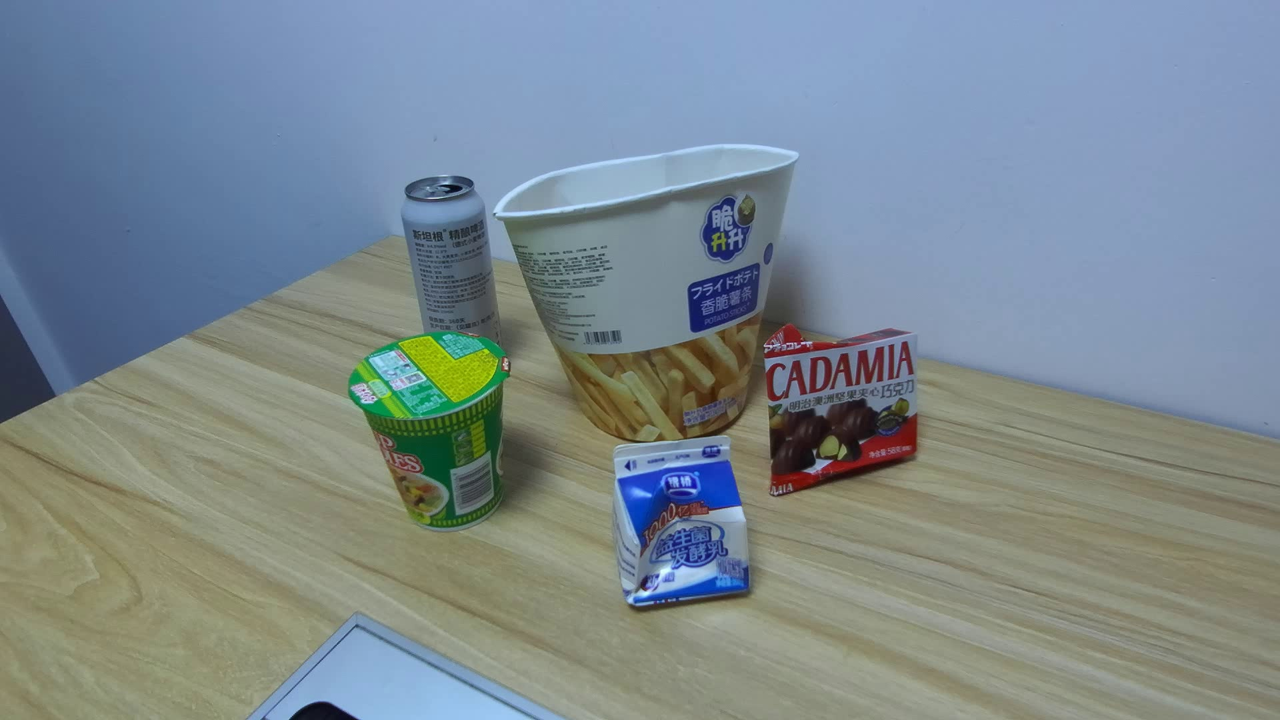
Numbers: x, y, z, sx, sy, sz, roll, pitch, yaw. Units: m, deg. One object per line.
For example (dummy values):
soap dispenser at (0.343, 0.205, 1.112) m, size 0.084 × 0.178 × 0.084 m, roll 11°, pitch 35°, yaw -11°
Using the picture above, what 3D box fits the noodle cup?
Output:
noodle cup at (-0.132, 0.053, 0.474) m, size 0.097 × 0.110 × 0.097 m, roll -1°, pitch 31°, yaw 1°

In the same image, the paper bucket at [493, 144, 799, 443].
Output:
paper bucket at (0.016, -0.054, 0.552) m, size 0.147 × 0.199 × 0.218 m, roll 17°, pitch 36°, yaw 27°

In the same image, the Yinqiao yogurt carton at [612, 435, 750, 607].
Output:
Yinqiao yogurt carton at (0.022, 0.088, 0.429) m, size 0.077 × 0.094 × 0.071 m, roll -6°, pitch 27°, yaw -7°

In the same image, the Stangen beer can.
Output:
Stangen beer can at (-0.158, -0.067, 0.604) m, size 0.067 × 0.171 × 0.067 m, roll 0°, pitch 34°, yaw 0°

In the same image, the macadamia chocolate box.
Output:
macadamia chocolate box at (0.141, 0.027, 0.505) m, size 0.127 × 0.112 × 0.056 m, roll -10°, pitch 33°, yaw -15°
